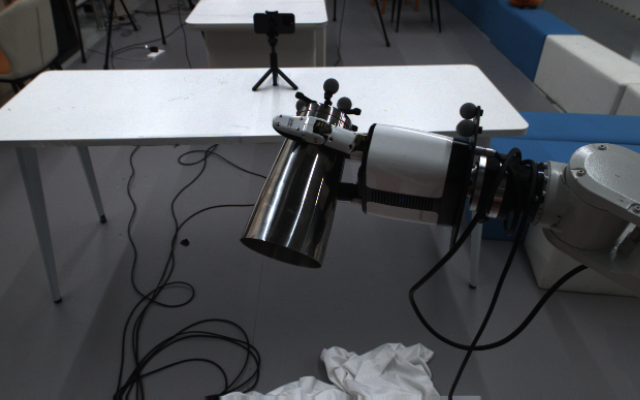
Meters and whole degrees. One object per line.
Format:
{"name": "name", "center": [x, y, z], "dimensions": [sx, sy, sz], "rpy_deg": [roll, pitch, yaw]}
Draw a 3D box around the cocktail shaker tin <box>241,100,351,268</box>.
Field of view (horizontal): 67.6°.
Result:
{"name": "cocktail shaker tin", "center": [-0.016, -0.021, 0.545], "dimensions": [0.093, 0.093, 0.170], "rpy_deg": [13, 71, 15]}
